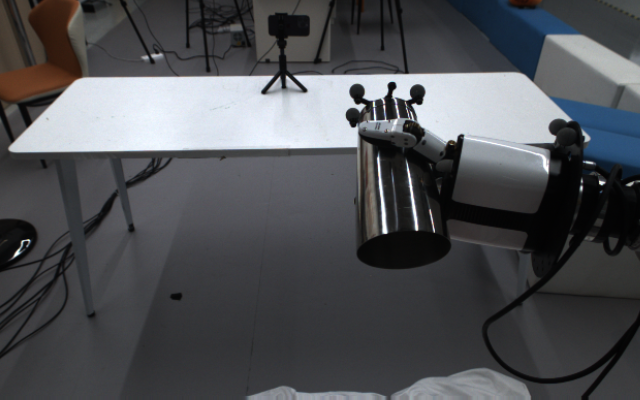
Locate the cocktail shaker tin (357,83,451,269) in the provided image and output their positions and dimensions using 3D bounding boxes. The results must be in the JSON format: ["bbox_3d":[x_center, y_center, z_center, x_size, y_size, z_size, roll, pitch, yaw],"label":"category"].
[{"bbox_3d":[0.079,-0.023,0.511,0.093,0.093,0.170,0,59,-3],"label":"cocktail shaker tin"}]
